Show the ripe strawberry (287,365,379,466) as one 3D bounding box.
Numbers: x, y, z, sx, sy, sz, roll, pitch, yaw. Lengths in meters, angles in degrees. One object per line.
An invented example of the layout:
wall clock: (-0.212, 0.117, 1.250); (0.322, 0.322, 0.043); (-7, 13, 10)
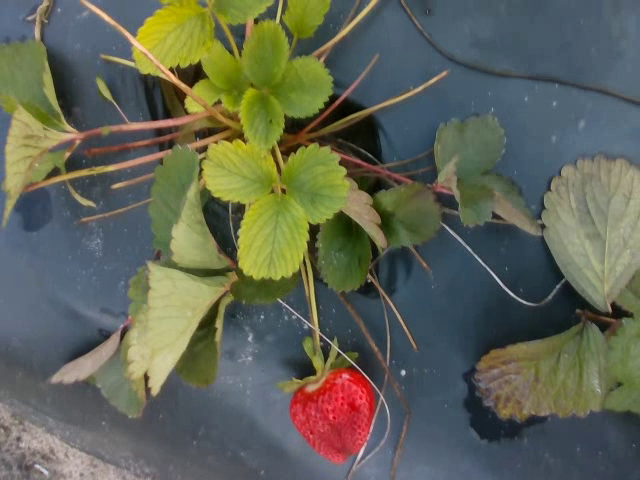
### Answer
ripe strawberry: (0.001, 0.028, 0.088); (0.013, 0.015, 0.017); (4, -29, -44)
